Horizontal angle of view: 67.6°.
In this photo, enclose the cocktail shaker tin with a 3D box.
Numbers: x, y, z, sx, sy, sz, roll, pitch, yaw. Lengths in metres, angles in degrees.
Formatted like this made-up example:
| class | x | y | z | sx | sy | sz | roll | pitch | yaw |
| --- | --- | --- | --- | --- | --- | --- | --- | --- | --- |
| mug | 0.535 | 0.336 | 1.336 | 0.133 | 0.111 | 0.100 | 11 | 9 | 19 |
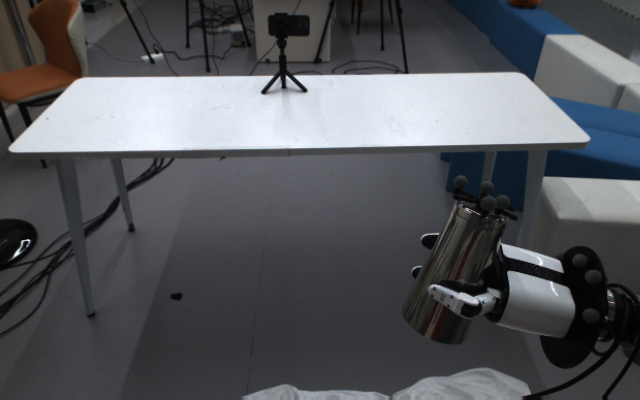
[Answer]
| class | x | y | z | sx | sy | sz | roll | pitch | yaw |
| --- | --- | --- | --- | --- | --- | --- | --- | --- | --- |
| cocktail shaker tin | 0.179 | 0.087 | 0.625 | 0.093 | 0.170 | 0.093 | 14 | 19 | -5 |
